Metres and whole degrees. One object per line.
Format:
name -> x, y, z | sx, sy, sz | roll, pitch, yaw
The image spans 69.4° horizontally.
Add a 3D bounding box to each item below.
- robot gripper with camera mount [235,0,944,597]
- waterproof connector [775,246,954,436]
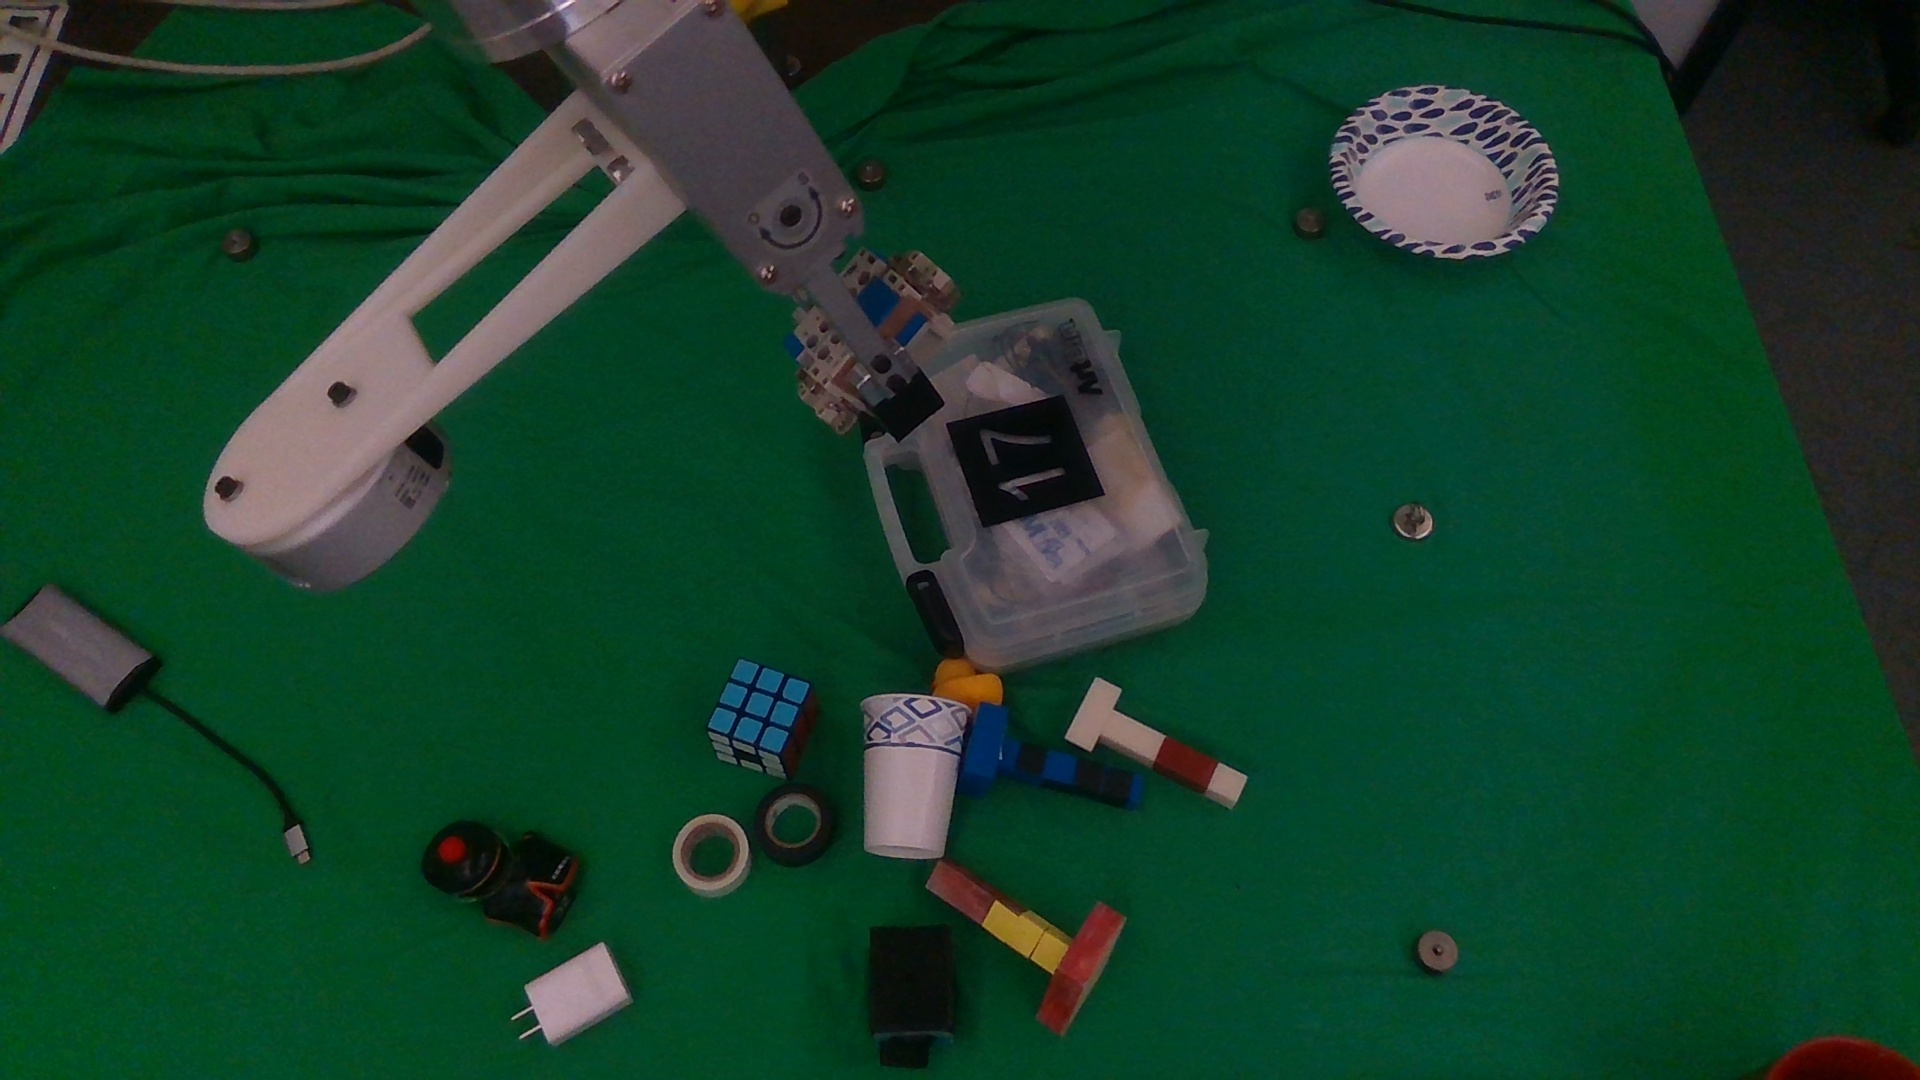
robot gripper with camera mount -> -0.113, -0.045, 0.419 | 0.193, 0.158, 0.119 | -43, 44, -2
waterproof connector -> -0.031, -0.067, 0.467 | 0.065, 0.037, 0.035 | -50, 47, 4
